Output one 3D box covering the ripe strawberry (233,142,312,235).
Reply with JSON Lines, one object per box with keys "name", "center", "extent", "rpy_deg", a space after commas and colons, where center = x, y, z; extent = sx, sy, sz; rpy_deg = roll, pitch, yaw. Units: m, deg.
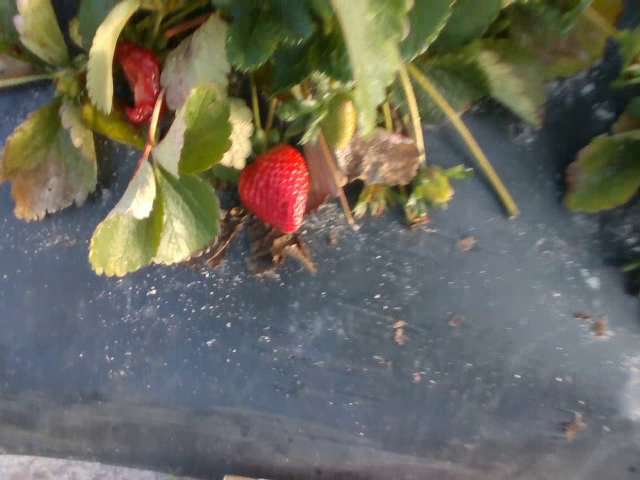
{"name": "ripe strawberry", "center": [-0.016, -0.015, 0.200], "extent": [0.031, 0.030, 0.026], "rpy_deg": [-24, -10, -1]}
